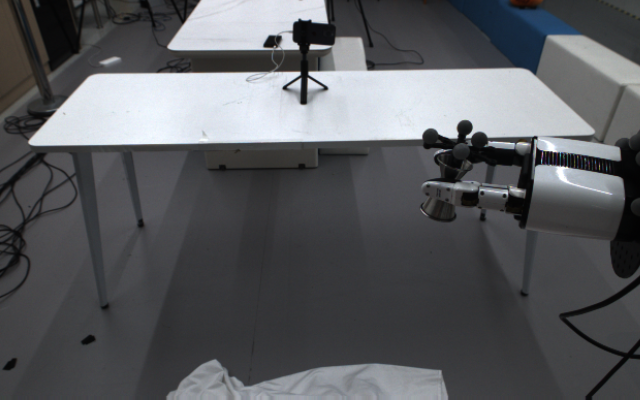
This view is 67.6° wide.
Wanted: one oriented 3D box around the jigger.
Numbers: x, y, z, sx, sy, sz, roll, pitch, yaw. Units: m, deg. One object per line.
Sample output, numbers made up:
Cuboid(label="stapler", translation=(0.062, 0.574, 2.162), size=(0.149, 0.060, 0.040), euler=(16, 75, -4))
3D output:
Cuboid(label="jigger", translation=(0.145, -0.015, 0.560), size=(0.043, 0.071, 0.043), euler=(9, 30, -5))
